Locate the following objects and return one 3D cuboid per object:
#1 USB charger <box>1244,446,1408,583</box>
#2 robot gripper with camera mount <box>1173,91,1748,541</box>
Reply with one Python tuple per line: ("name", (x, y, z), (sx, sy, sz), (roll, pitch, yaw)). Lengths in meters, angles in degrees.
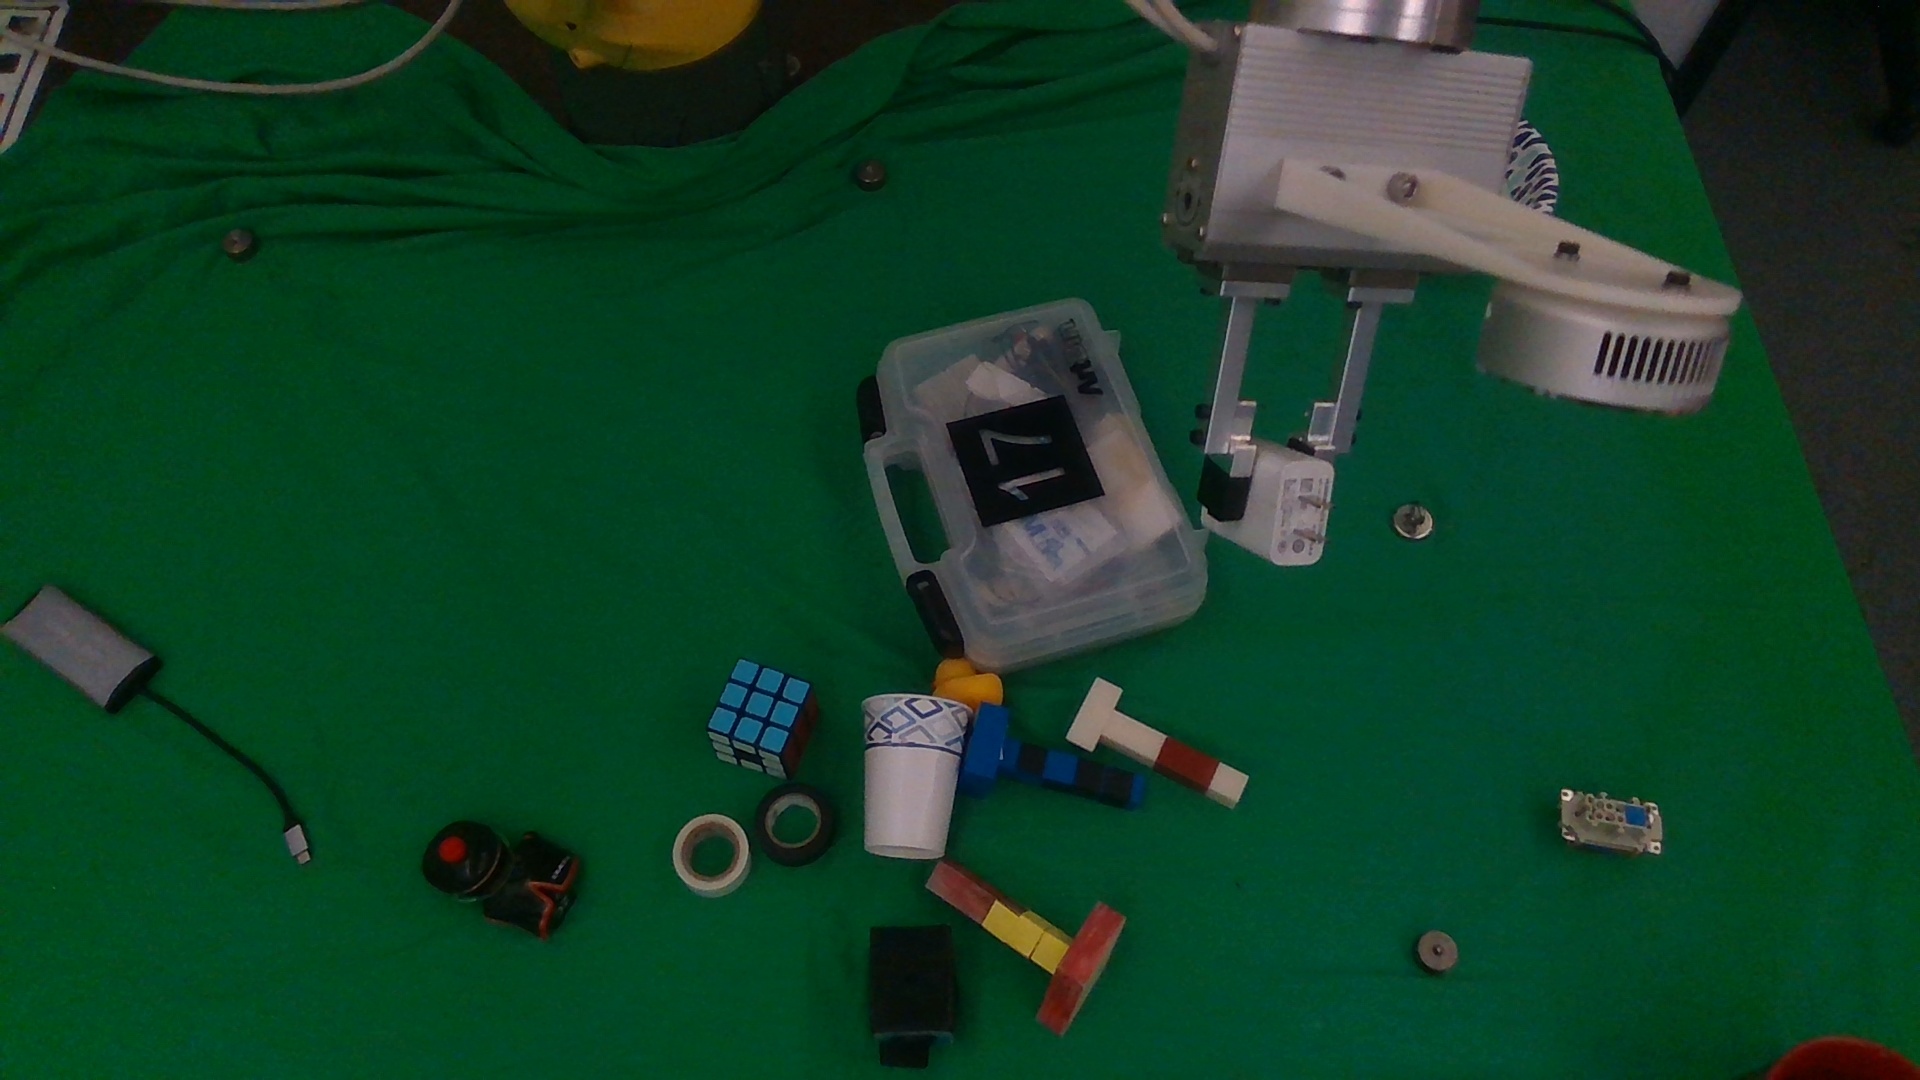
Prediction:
("USB charger", (0.136, -0.009, 0.511), (0.029, 0.076, 0.044), (-12, 105, -22))
("robot gripper with camera mount", (0.157, -0.049, 0.436), (0.119, 0.158, 0.194), (-3, 22, -17))
